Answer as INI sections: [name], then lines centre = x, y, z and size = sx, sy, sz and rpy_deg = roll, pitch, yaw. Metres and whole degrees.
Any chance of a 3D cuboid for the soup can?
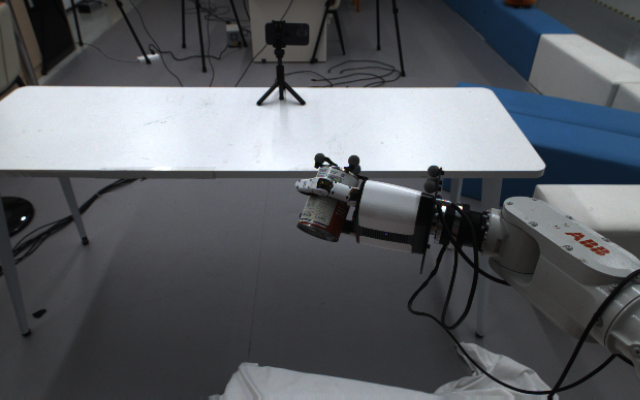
[soup can]
centre = 0.014, 0.005, 0.742
size = 0.067, 0.067, 0.101
rpy_deg = 16, 75, 19
